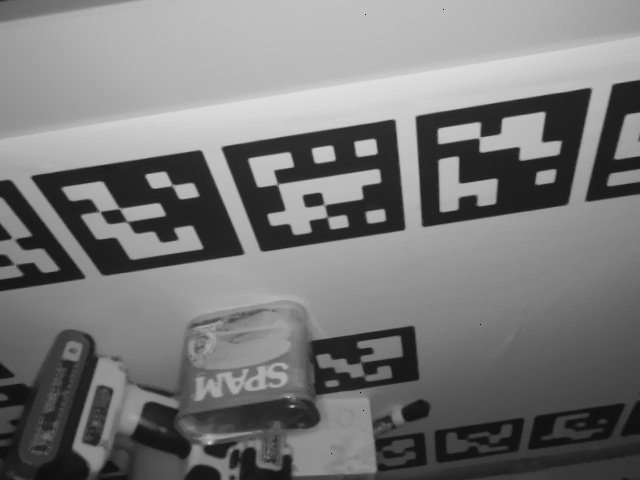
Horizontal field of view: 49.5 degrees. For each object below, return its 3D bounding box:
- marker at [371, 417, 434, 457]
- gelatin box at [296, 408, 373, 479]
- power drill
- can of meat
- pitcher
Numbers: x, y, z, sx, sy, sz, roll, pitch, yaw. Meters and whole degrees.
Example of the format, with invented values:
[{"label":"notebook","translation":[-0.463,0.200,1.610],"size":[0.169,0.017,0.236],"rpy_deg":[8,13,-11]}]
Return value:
[{"label":"marker","translation":[0.063,0.211,0.715],"size":[0.120,0.020,0.020],"rpy_deg":[-28,131,20]},{"label":"gelatin box","translation":[0.003,0.199,0.661],"size":[0.090,0.074,0.030],"rpy_deg":[1,132,-4]},{"label":"power drill","translation":[-0.103,0.185,0.555],"size":[0.188,0.186,0.056],"rpy_deg":[21,128,-18]},{"label":"can of meat","translation":[-0.047,0.098,0.539],"size":[0.102,0.084,0.057],"rpy_deg":[-8,138,3]},{"label":"pitcher","translation":[-0.135,0.278,0.614],"size":[0.191,0.243,0.131],"rpy_deg":[11,131,-26]}]
